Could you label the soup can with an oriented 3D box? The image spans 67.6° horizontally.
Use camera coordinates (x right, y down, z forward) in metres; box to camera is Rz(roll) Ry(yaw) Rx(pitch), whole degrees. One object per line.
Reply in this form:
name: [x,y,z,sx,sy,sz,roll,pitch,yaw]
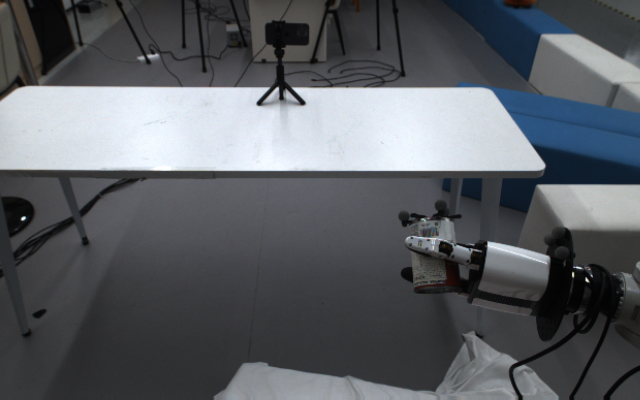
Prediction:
soup can: [0.169,0.081,0.705,0.067,0.067,0.101,-1,72,-4]
